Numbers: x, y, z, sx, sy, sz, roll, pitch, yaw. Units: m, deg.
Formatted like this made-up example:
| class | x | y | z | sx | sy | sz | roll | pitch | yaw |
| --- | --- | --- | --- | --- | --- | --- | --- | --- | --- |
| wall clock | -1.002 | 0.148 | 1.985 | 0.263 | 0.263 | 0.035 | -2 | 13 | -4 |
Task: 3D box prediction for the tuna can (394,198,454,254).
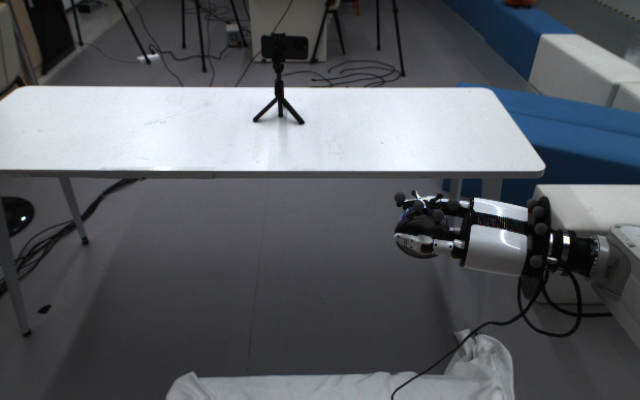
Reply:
| class | x | y | z | sx | sy | sz | roll | pitch | yaw |
| --- | --- | --- | --- | --- | --- | --- | --- | --- | --- |
| tuna can | 0.165 | 0.047 | 0.769 | 0.085 | 0.085 | 0.034 | 10 | 33 | 12 |
